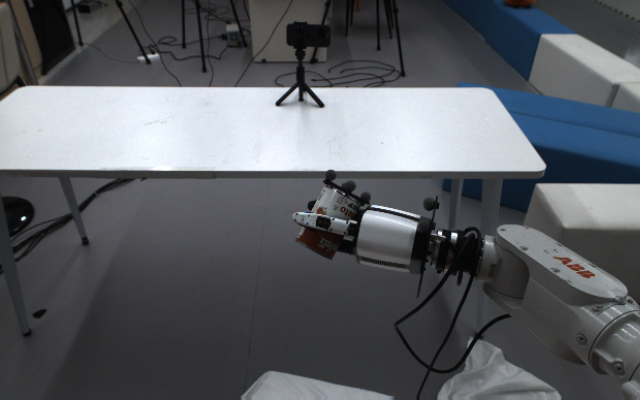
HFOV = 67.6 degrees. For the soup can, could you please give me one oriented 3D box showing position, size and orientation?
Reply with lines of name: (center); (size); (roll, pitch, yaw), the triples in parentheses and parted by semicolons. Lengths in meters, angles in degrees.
soup can: (0.014, 0.035, 0.769); (0.067, 0.101, 0.067); (28, -3, 2)
